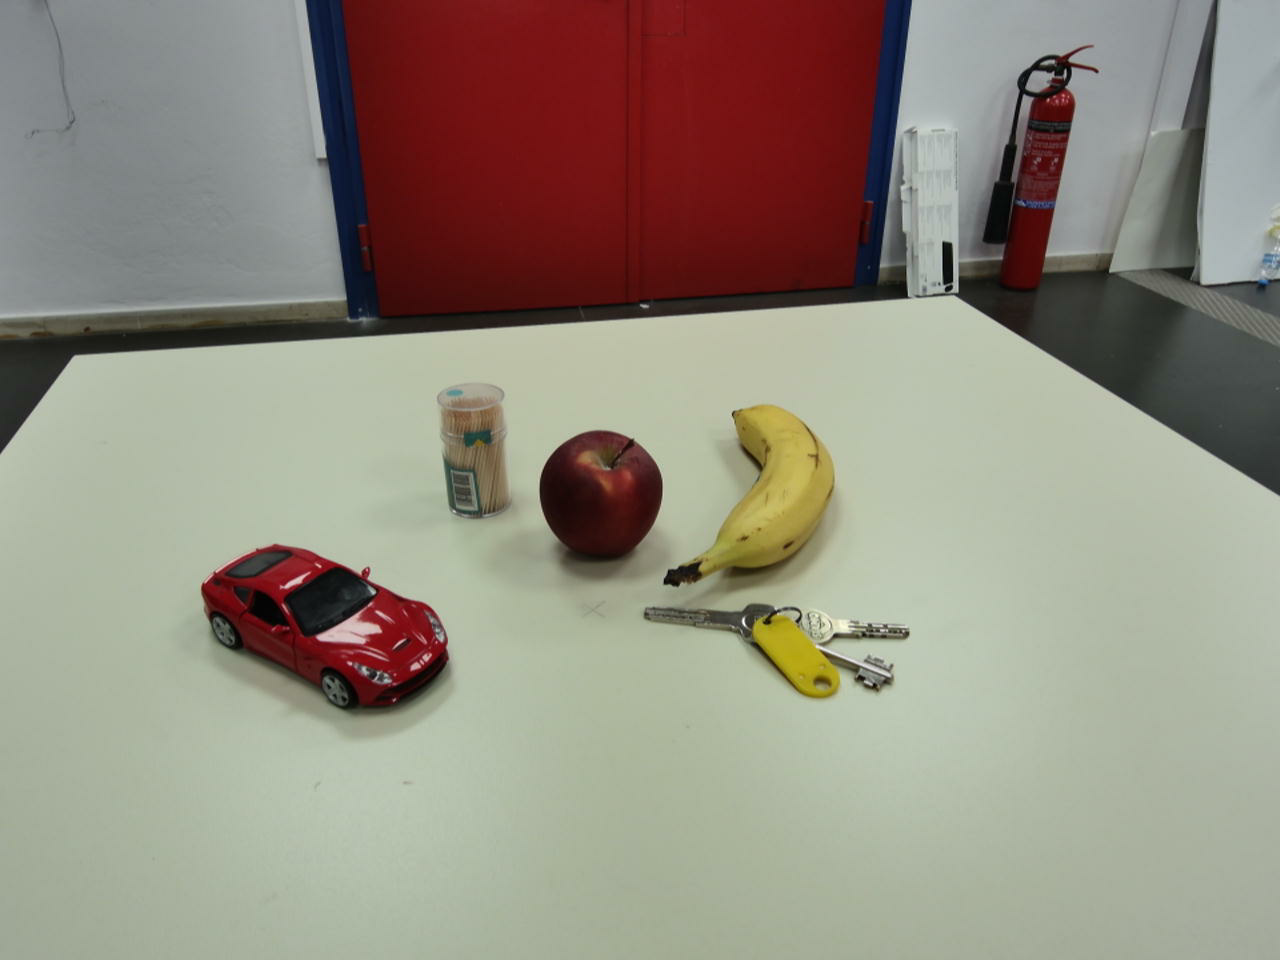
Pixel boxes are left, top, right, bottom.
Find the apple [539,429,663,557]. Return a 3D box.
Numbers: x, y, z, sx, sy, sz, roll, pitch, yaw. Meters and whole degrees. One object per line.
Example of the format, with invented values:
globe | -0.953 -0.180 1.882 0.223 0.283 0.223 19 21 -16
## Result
apple | -0.022 0.008 0.561 0.070 0.072 0.070 1 27 0
